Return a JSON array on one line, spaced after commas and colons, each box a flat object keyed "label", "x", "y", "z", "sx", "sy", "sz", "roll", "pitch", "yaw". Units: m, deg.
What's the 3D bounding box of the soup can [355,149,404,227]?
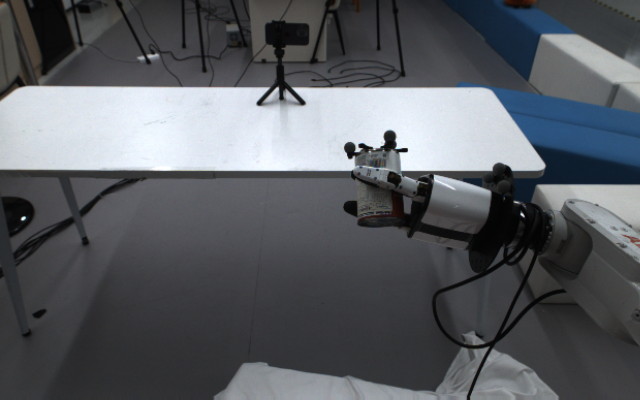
[{"label": "soup can", "x": 0.087, "y": -0.017, "z": 0.695, "sx": 0.067, "sy": 0.067, "sz": 0.101, "roll": -2, "pitch": 76, "yaw": -6}]
